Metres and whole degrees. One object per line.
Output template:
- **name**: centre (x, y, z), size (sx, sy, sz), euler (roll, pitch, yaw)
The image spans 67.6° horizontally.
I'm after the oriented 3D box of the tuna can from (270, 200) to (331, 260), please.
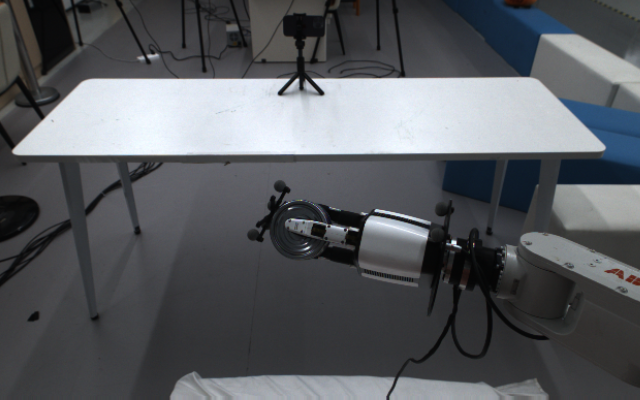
- **tuna can**: centre (-0.024, 0.046, 0.680), size (0.085, 0.085, 0.034), euler (9, -4, 10)
